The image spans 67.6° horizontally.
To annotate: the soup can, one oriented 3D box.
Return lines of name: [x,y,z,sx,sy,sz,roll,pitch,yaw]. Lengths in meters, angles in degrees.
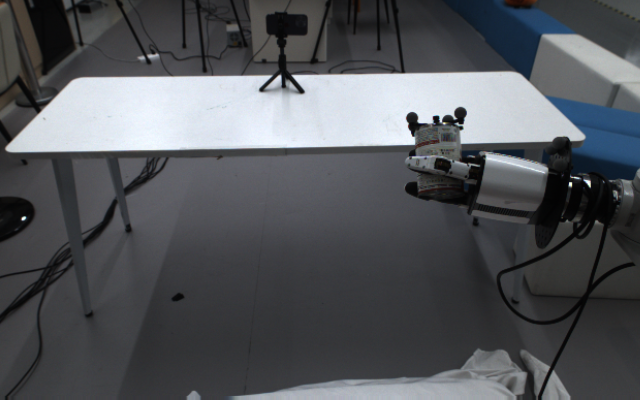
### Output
soup can: [0.176,-0.056,0.713,0.067,0.101,0.067,-1,-9,0]
